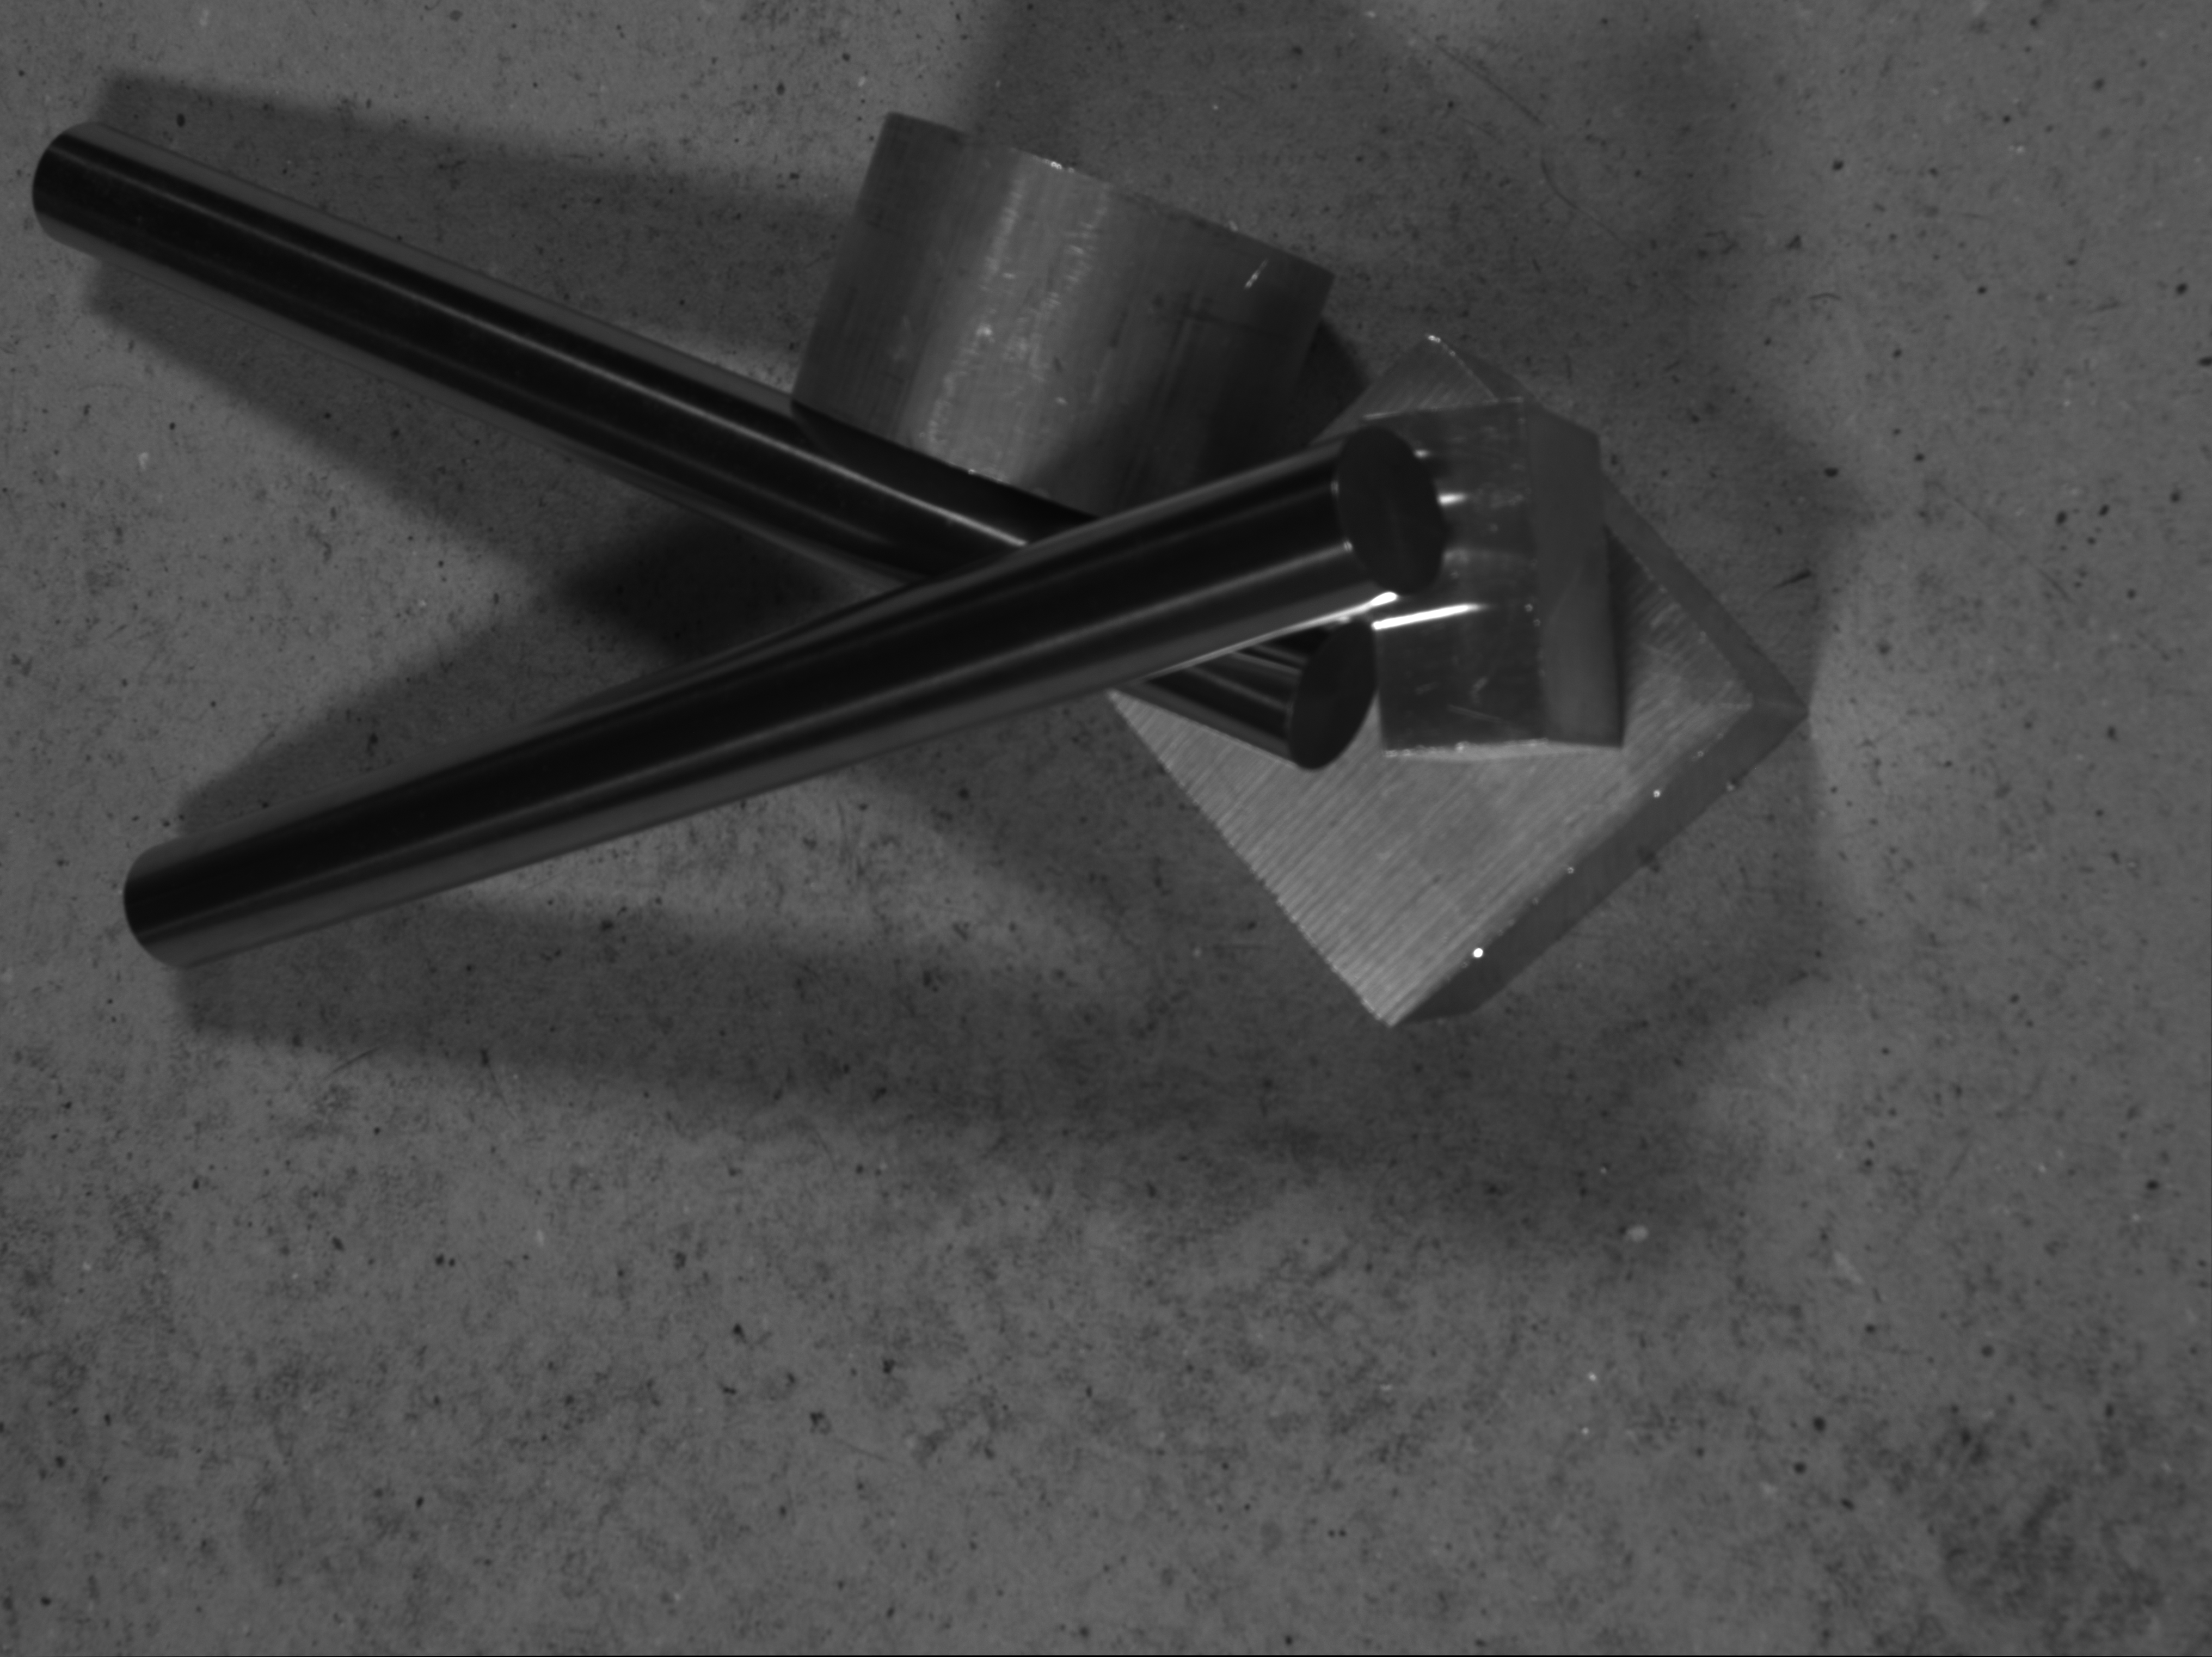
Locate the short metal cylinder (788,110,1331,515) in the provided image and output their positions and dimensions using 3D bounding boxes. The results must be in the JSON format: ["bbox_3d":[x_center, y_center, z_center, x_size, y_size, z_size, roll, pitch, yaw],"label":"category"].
[{"bbox_3d":[-0.008,-0.084,0.620,0.080,0.080,0.050,22,97,18],"label":"short metal cylinder"}]

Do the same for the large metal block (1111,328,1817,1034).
[{"bbox_3d":[0.057,-0.023,0.609,0.080,0.050,0.080,-43,76,16],"label":"large metal block"}]

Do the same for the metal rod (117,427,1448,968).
[{"bbox_3d":[-0.070,-0.015,0.613,0.299,0.025,0.025,-15,84,40],"label":"metal rod"}]

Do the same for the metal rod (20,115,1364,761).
[{"bbox_3d":[-0.084,-0.075,0.644,0.299,0.025,0.025,24,98,30],"label":"metal rod"}]

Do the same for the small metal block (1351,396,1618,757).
[{"bbox_3d":[0.058,-0.036,0.554,0.025,0.050,0.050,-4,89,20],"label":"small metal block"}]
